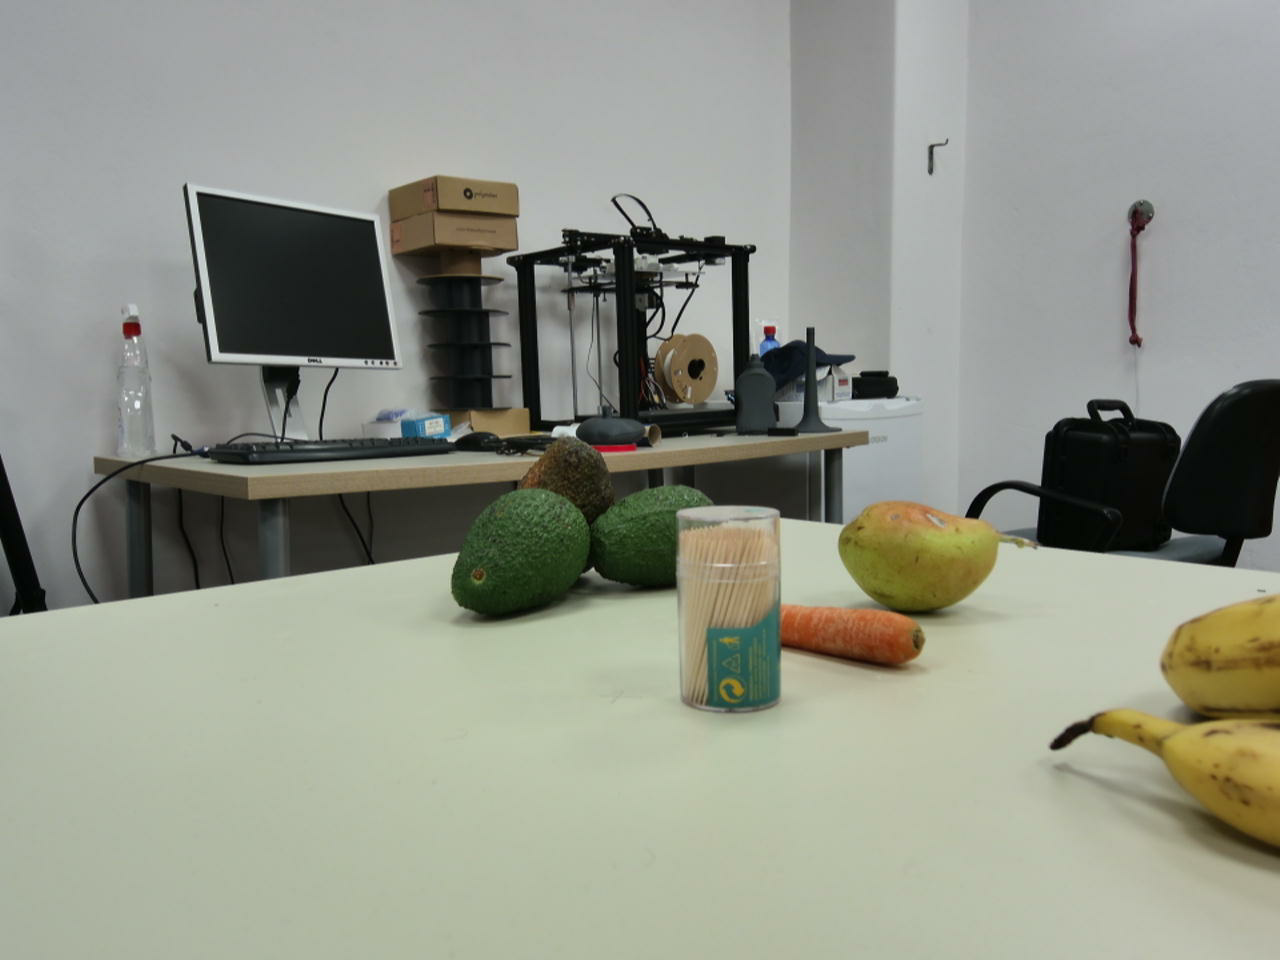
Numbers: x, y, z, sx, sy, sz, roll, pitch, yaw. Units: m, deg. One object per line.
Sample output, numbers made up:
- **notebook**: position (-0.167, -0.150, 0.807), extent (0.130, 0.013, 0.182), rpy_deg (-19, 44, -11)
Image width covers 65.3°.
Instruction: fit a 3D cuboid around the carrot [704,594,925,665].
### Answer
- **carrot**: position (0.078, 0.068, 0.473), extent (0.024, 0.023, 0.122), rpy_deg (-2, 4, -44)
